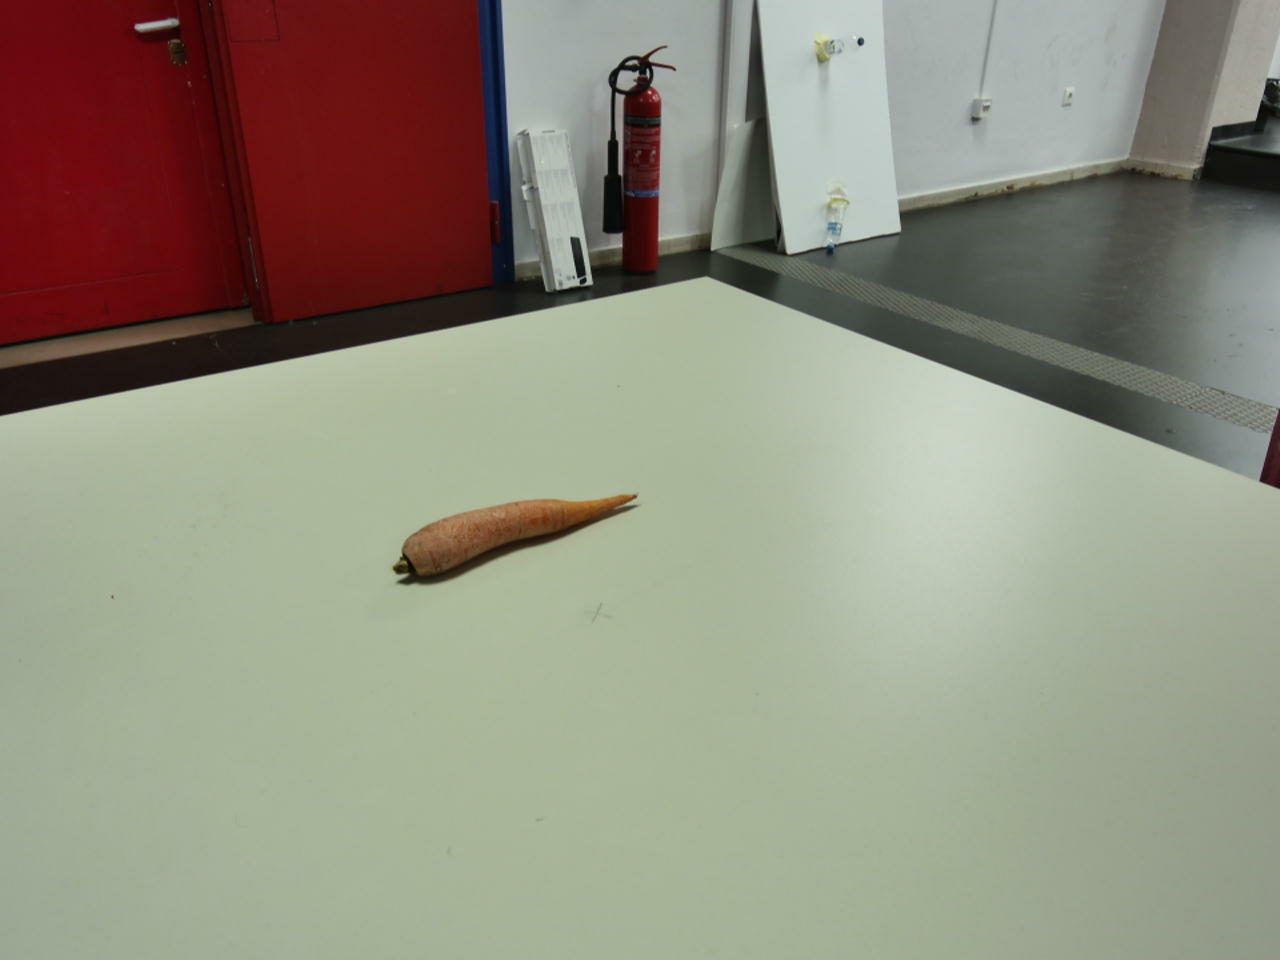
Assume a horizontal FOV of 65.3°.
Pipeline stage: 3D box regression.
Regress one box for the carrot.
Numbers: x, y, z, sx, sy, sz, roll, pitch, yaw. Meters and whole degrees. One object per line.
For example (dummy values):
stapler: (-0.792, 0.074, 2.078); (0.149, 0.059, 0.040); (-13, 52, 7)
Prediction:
carrot: (-0.073, 0.025, 0.618); (0.163, 0.029, 0.031); (-17, 31, -32)
